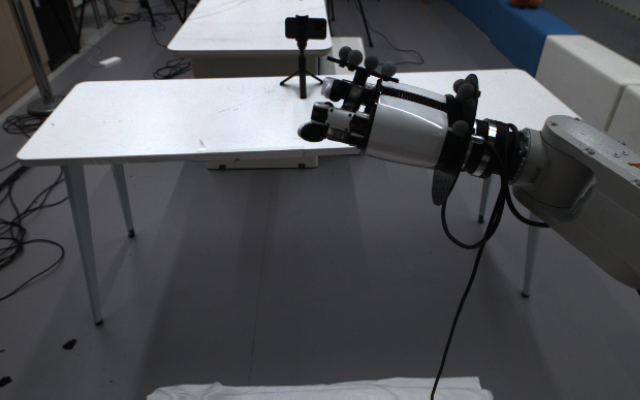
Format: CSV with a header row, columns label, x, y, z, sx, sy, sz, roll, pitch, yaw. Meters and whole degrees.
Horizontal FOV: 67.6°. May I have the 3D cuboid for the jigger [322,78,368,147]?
label,x,y,z,sx,sy,sz,roll,pitch,yaw
jigger,0.035,-0.105,0.582,0.043,0.071,0.043,18,17,-6
